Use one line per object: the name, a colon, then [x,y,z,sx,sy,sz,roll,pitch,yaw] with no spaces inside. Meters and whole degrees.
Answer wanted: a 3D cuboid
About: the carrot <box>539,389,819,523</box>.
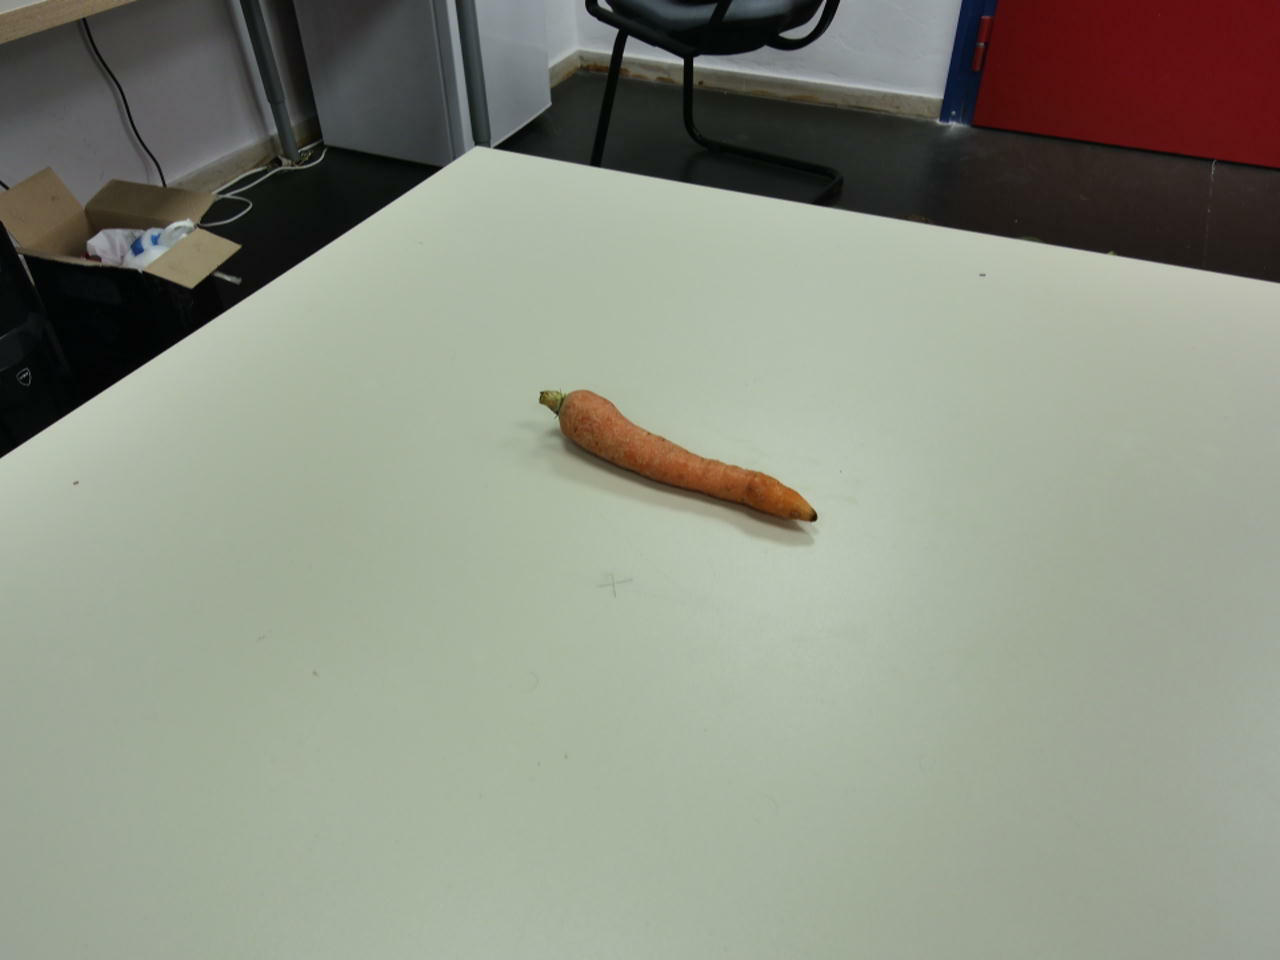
carrot: [0.017,-0.014,0.536,0.173,0.032,0.030,23,44,27]
